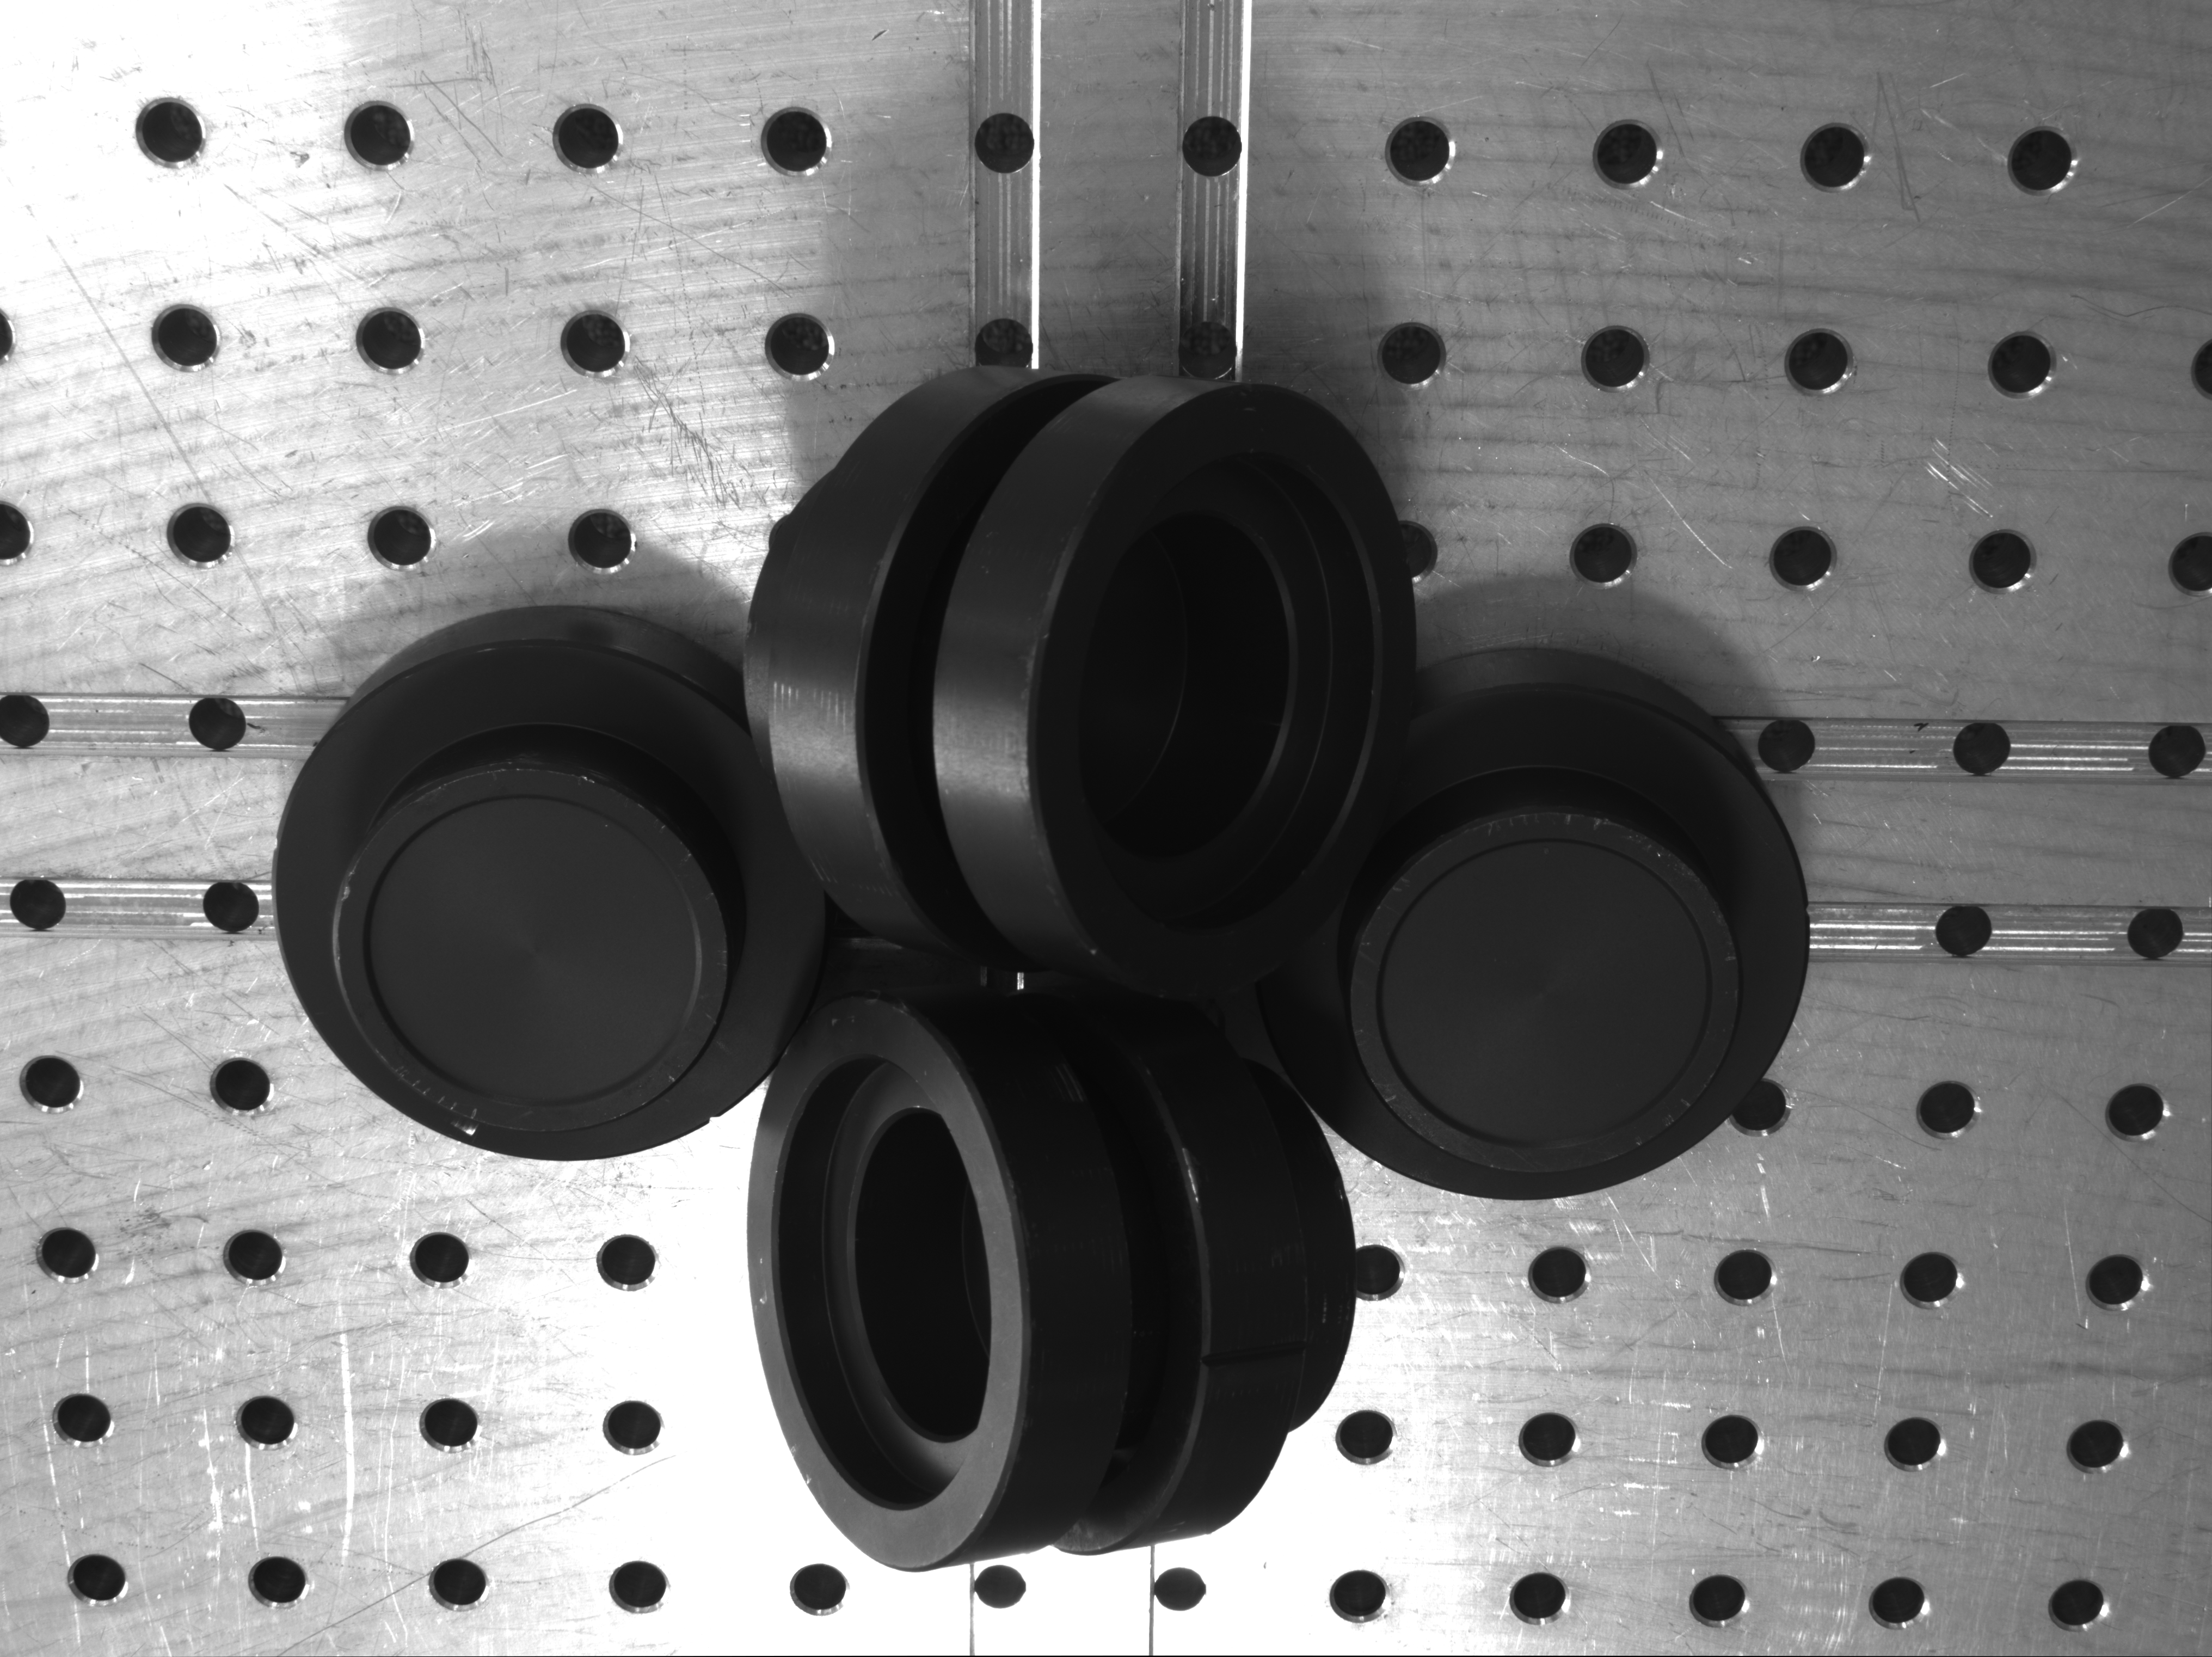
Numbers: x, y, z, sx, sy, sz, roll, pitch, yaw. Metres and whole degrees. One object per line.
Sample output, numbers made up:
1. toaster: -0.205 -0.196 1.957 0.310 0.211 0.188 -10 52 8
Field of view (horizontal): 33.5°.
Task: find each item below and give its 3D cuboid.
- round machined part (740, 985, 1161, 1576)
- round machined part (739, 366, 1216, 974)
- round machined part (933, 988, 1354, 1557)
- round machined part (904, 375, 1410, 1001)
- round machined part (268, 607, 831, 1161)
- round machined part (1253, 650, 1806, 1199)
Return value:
1. round machined part: -0.022 0.076 0.631 0.042 0.098 0.098 -3 114 -33
2. round machined part: -0.023 -0.028 0.610 0.042 0.098 0.098 11 116 39
3. round machined part: 0.007 0.076 0.645 0.042 0.098 0.098 -3 114 -33
4. round machined part: 0.004 -0.024 0.592 0.042 0.098 0.098 11 116 39
5. round machined part: -0.098 0.014 0.642 0.098 0.042 0.098 0 110 0
6. round machined part: 0.074 0.021 0.646 0.098 0.042 0.098 0 110 0
